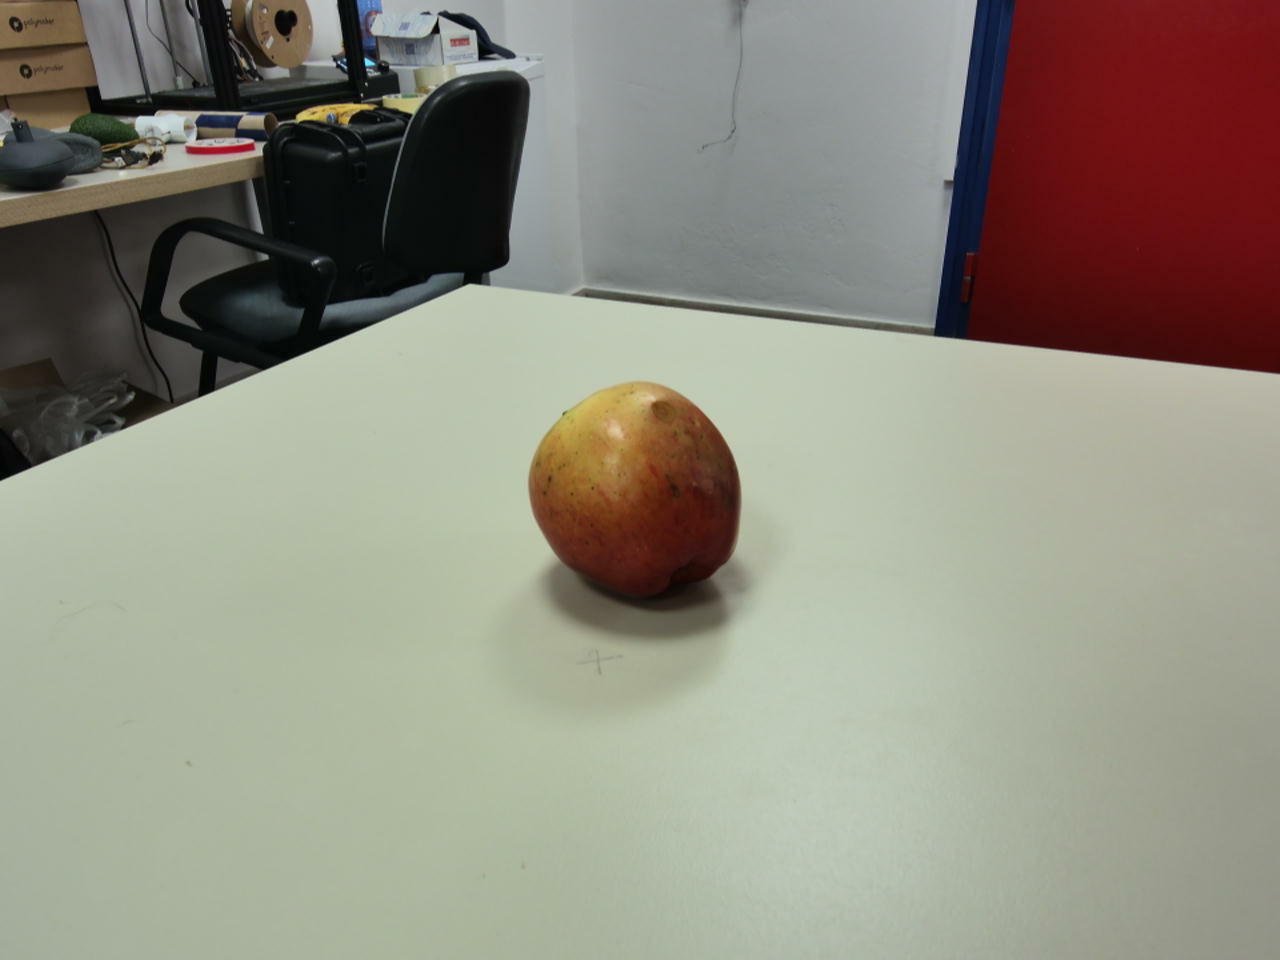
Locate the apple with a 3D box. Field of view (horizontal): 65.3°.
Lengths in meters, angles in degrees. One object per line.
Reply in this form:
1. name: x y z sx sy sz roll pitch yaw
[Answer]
1. apple: -0.003 0.003 0.416 0.086 0.084 0.093 -5 24 -9
